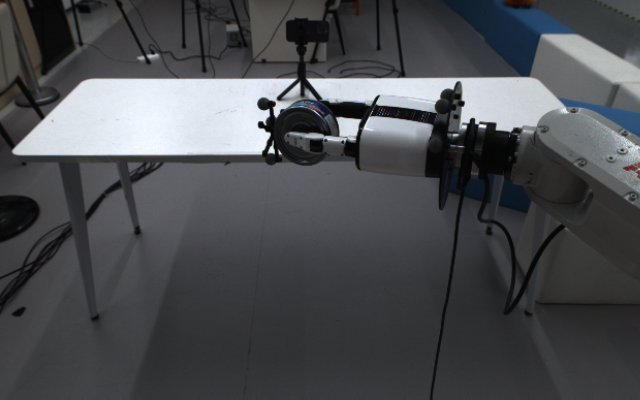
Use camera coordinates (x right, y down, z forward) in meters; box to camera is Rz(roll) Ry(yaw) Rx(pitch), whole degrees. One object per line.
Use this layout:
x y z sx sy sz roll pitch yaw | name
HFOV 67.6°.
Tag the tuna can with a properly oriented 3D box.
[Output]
-0.018 -0.094 0.659 0.085 0.085 0.034 12 28 14 | tuna can
